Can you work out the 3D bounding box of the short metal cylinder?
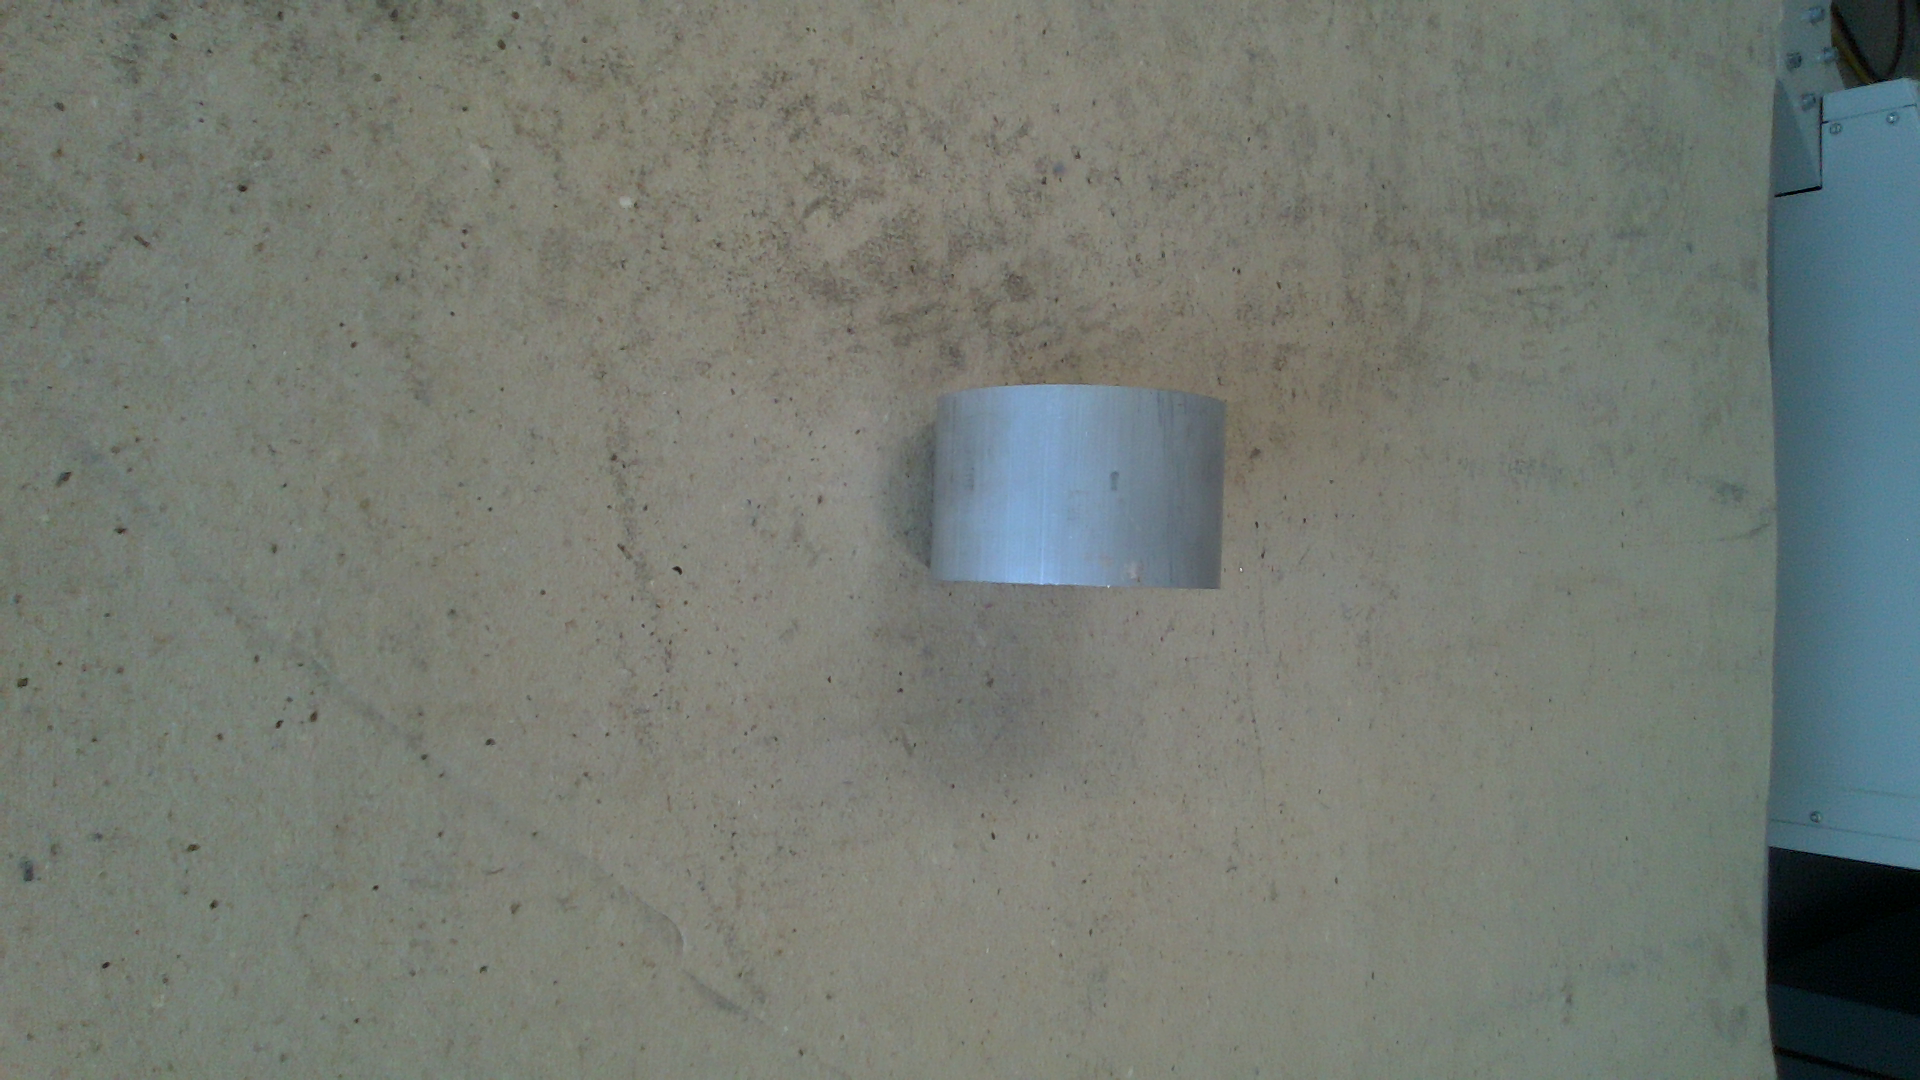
[{"bbox_3d":[0.032,-0.013,0.380,0.080,0.080,0.050,2,89,-40],"label":"short metal cylinder"}]
